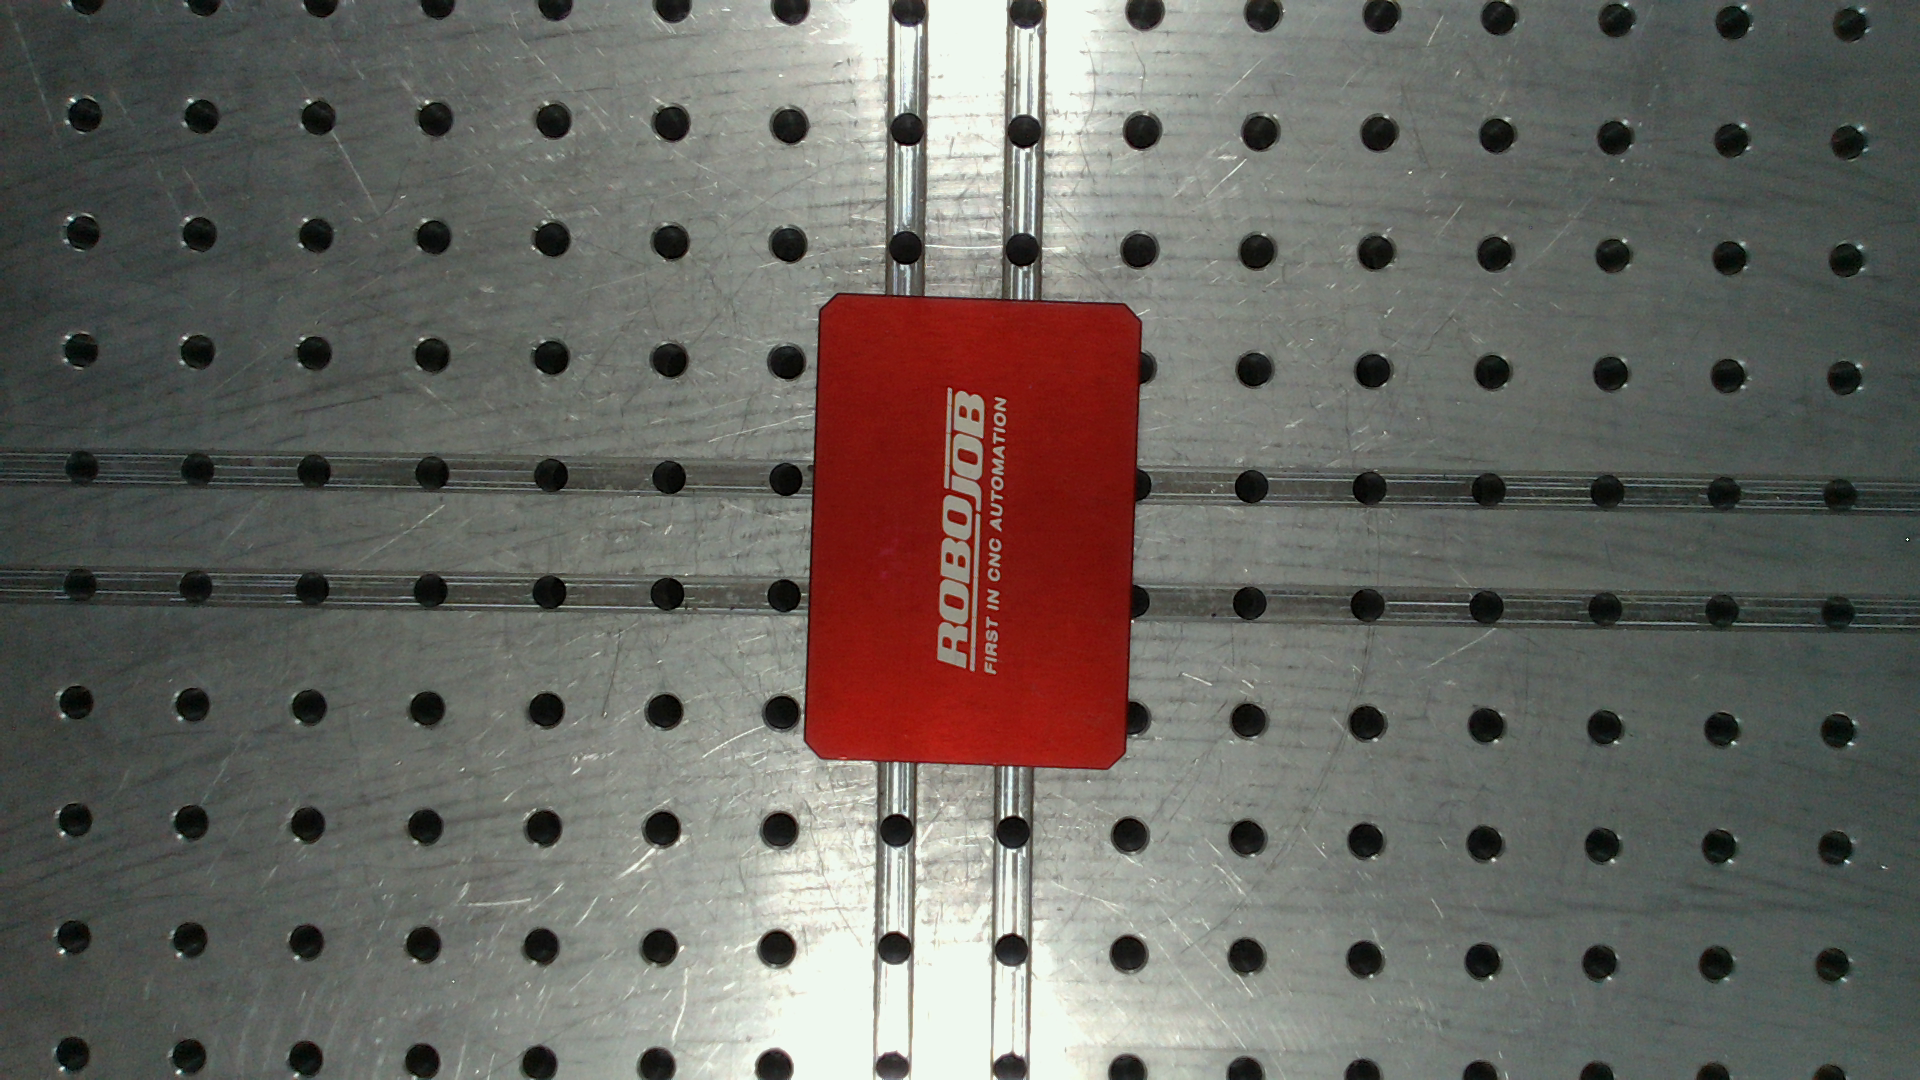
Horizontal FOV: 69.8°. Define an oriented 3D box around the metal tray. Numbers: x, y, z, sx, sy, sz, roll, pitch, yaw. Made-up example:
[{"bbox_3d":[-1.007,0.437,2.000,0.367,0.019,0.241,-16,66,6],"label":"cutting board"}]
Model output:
[{"bbox_3d":[0.003,-0.003,0.394,0.090,0.030,0.130,2,90,0],"label":"metal tray"}]
